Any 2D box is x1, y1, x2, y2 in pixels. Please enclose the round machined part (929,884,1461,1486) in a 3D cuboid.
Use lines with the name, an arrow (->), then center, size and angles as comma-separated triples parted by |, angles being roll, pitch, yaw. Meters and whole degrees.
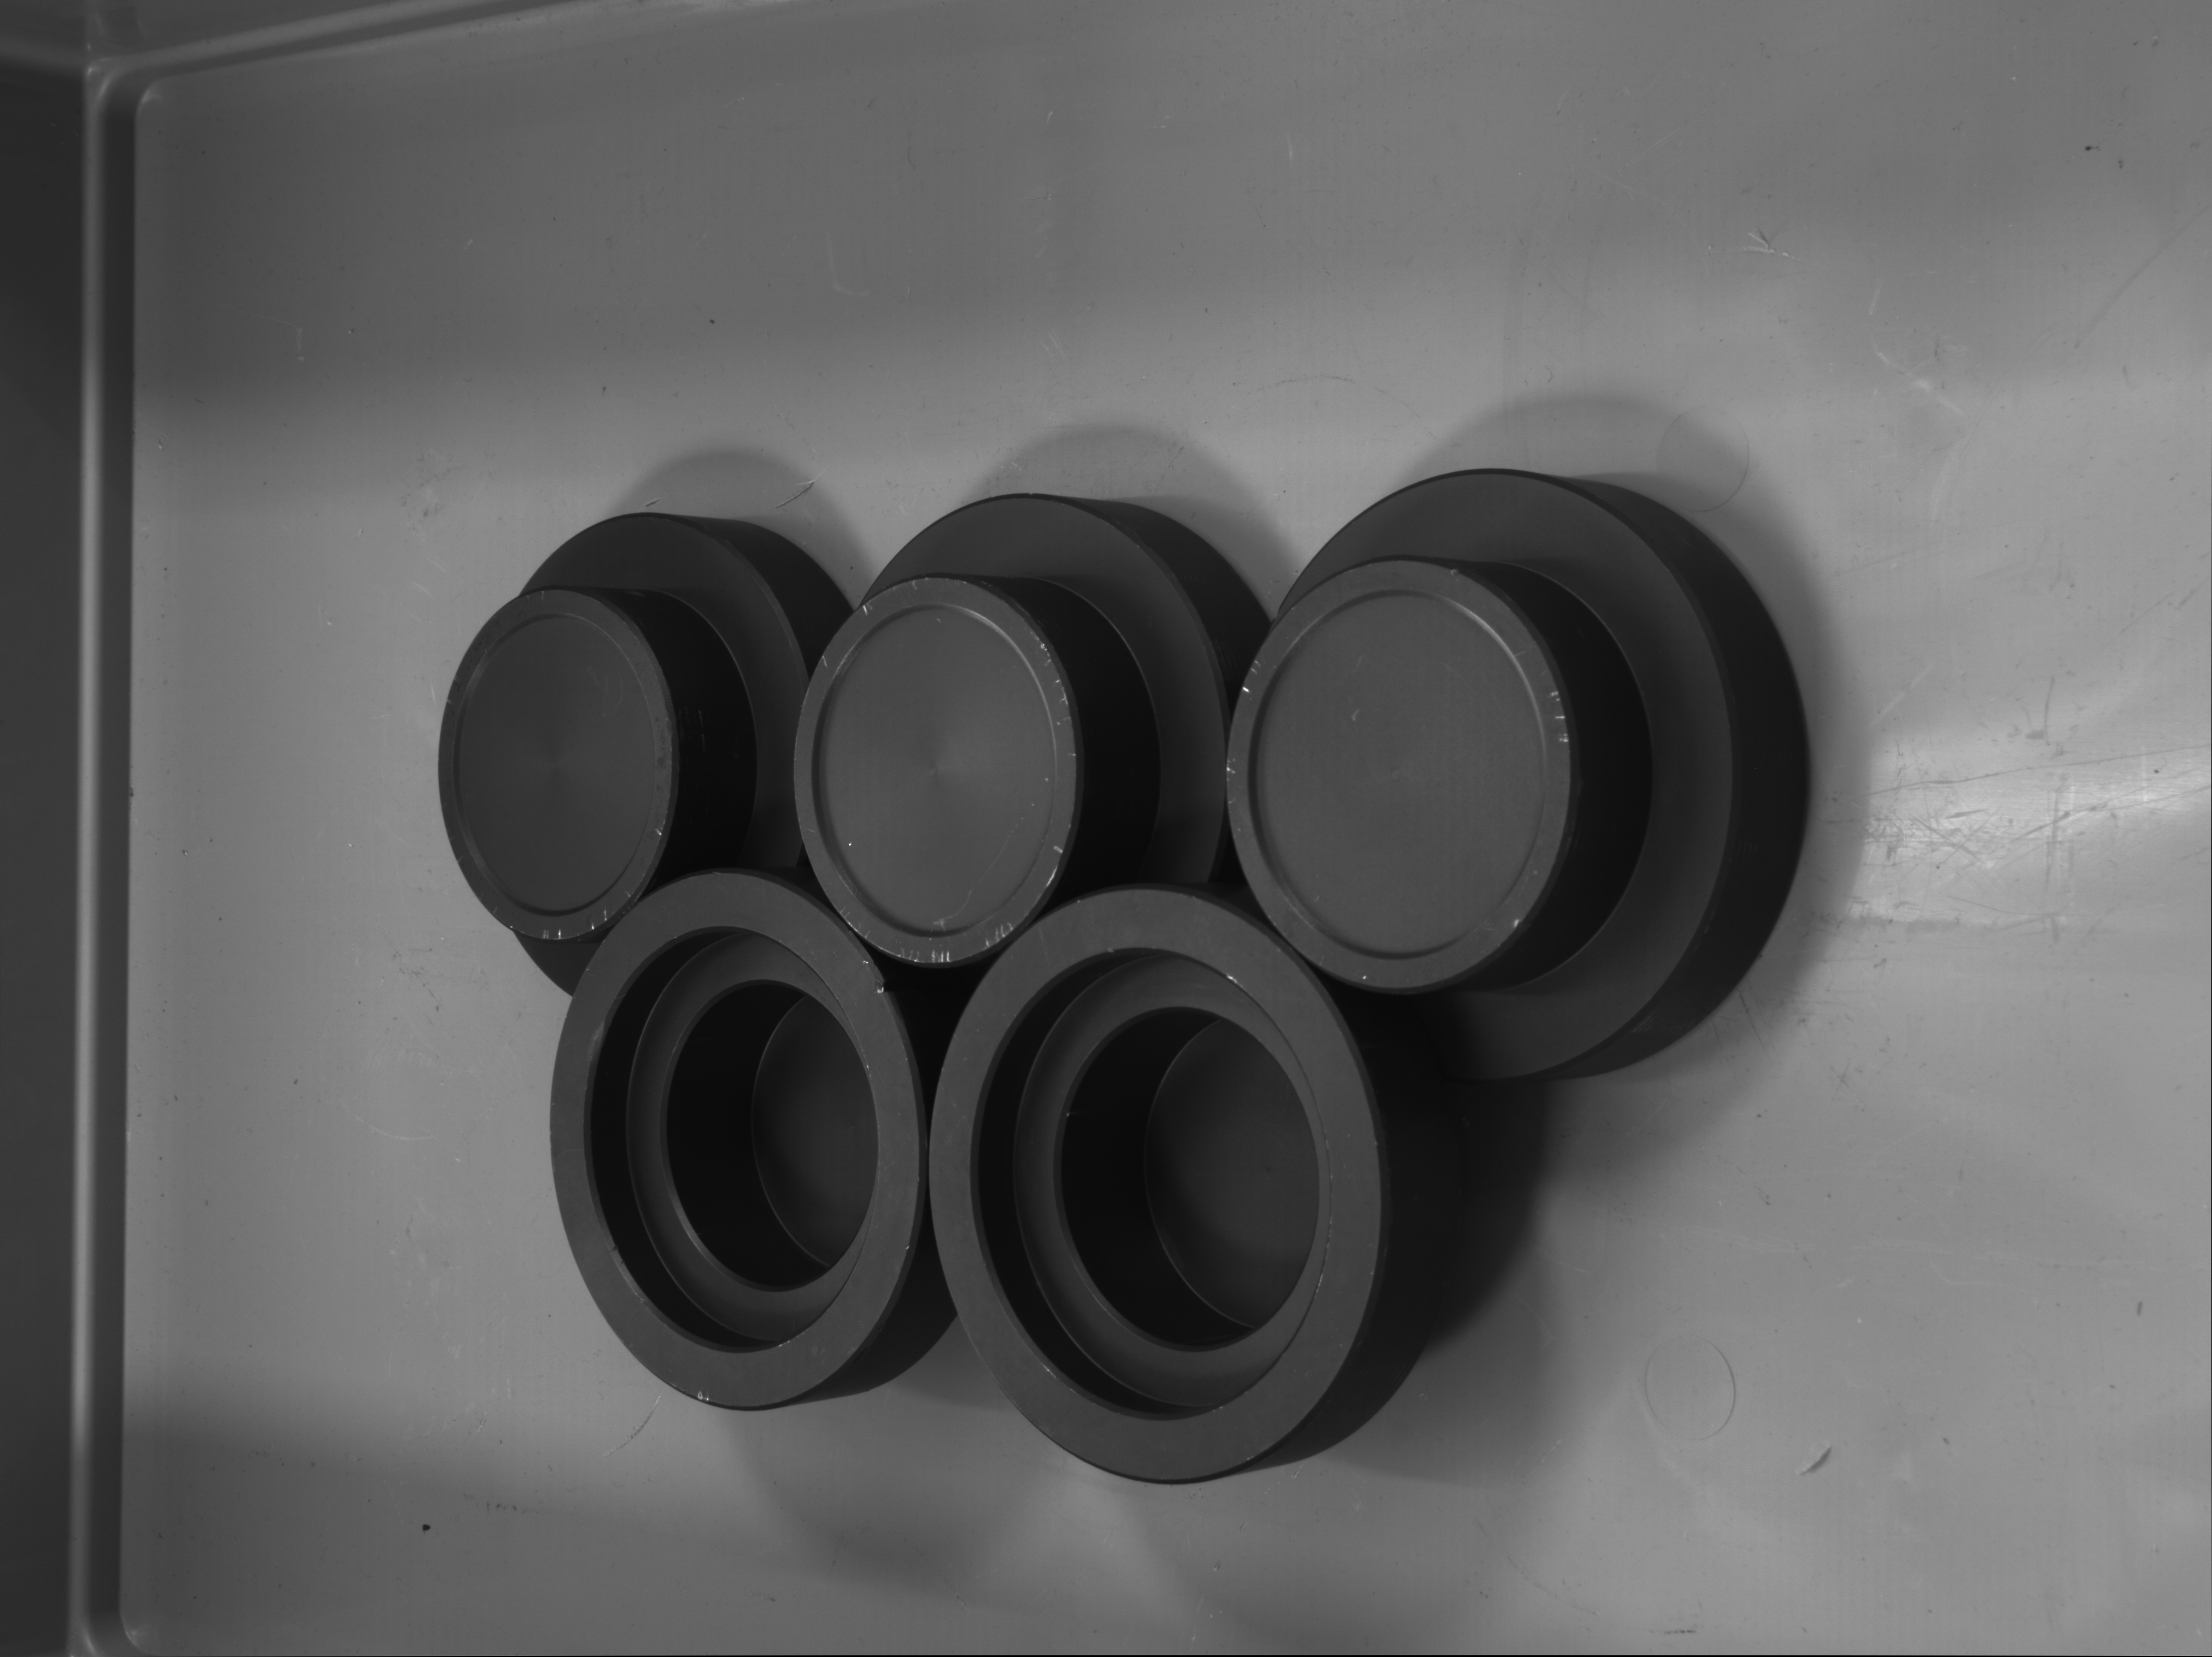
round machined part -> 0.020, 0.058, 0.615 | 0.098, 0.042, 0.098 | 0, 90, 40

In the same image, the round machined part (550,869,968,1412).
round machined part -> -0.055, 0.056, 0.678 | 0.098, 0.042, 0.098 | 0, 90, 40

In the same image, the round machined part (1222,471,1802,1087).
round machined part -> 0.057, -0.008, 0.583 | 0.098, 0.042, 0.098 | -1, 88, 41

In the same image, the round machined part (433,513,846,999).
round machined part -> -0.092, -0.012, 0.708 | 0.098, 0.042, 0.098 | -1, 88, 39

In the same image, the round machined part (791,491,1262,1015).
round machined part -> -0.017, -0.011, 0.646 | 0.098, 0.042, 0.098 | -1, 88, 41
